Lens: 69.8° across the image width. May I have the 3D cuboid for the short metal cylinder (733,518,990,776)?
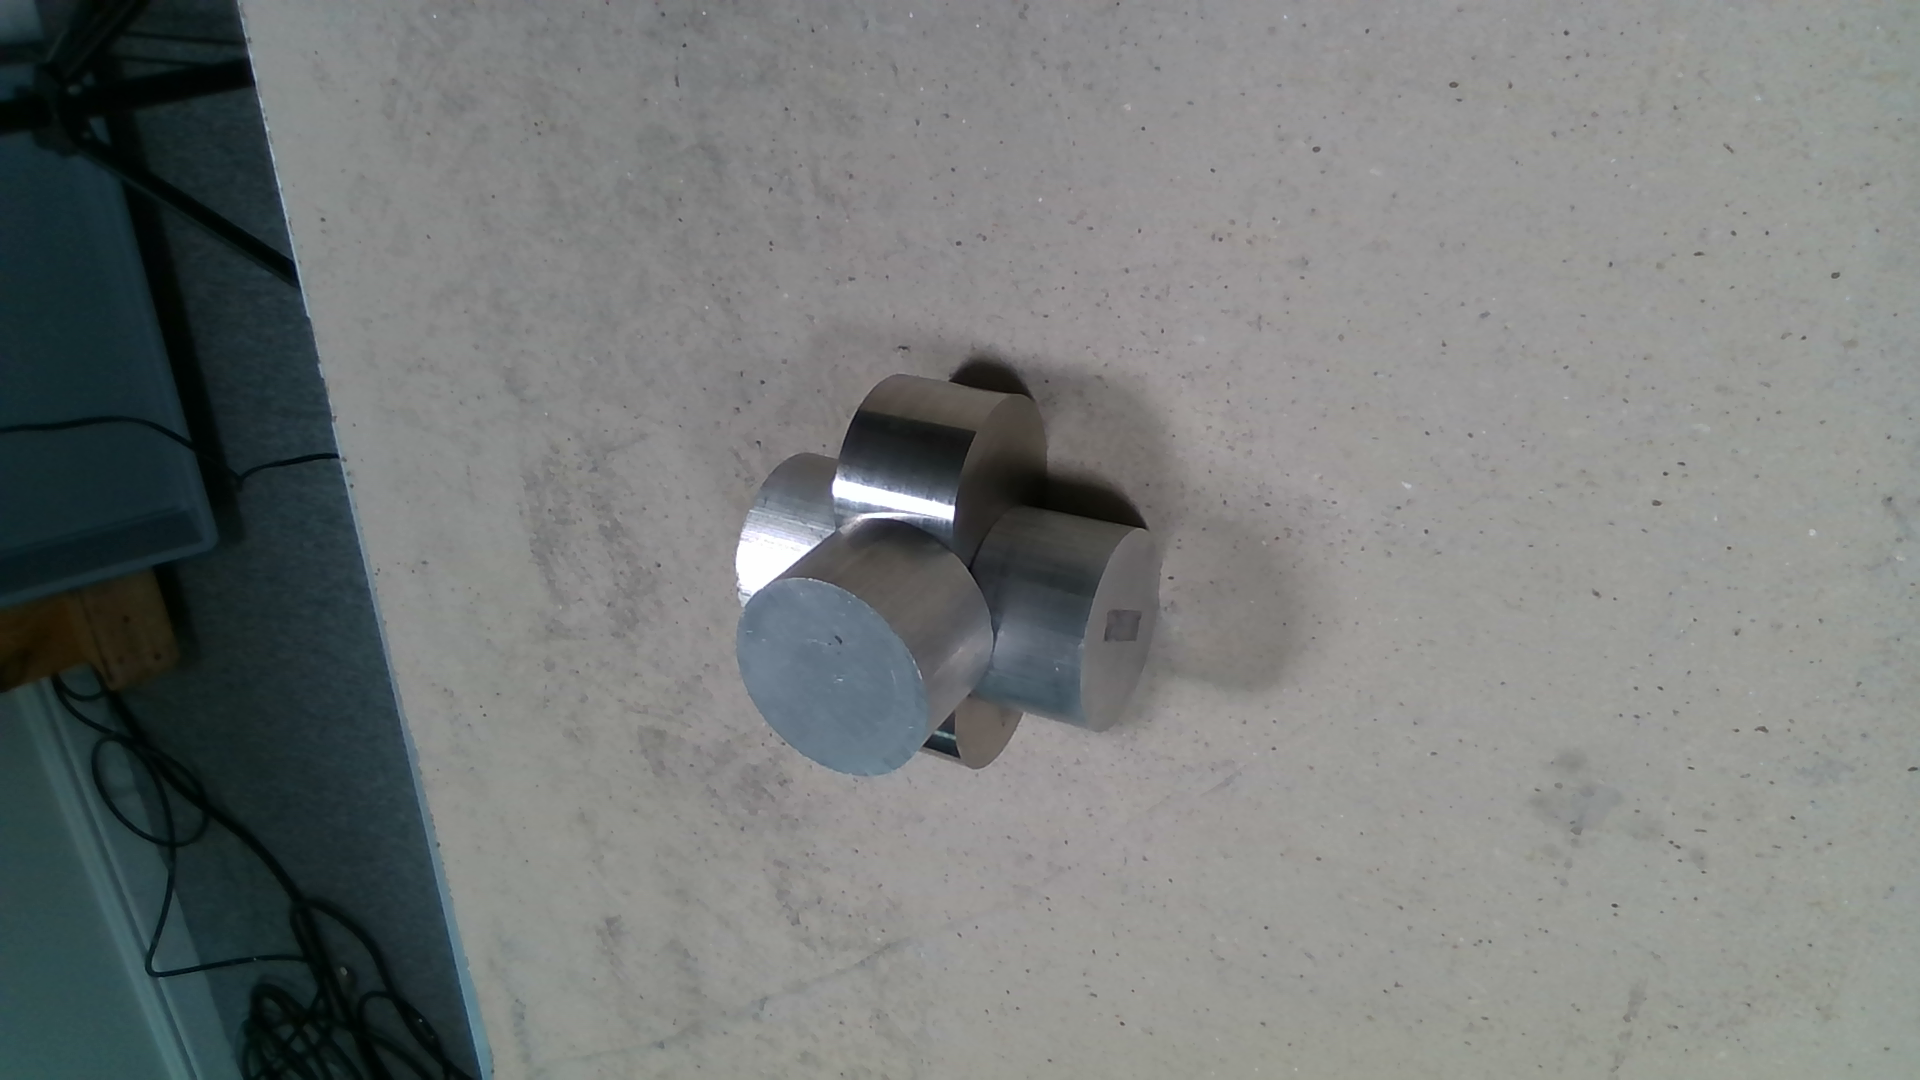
[{"bbox_3d":[-0.035,0.038,0.503,0.080,0.050,0.080,14,122,25],"label":"short metal cylinder"}]

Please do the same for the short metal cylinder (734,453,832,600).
[{"bbox_3d":[-0.050,0.007,0.579,0.050,0.080,0.080,14,122,25],"label":"short metal cylinder"}]

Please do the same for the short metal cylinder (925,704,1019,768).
[{"bbox_3d":[-0.006,0.050,0.575,0.050,0.080,0.080,14,122,25],"label":"short metal cylinder"}]

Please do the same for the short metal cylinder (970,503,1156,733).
[{"bbox_3d":[0.040,0.030,0.536,0.050,0.080,0.080,13,121,26],"label":"short metal cylinder"}]

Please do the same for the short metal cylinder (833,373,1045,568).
[{"bbox_3d":[-0.006,-0.022,0.537,0.050,0.080,0.080,13,121,25],"label":"short metal cylinder"}]
